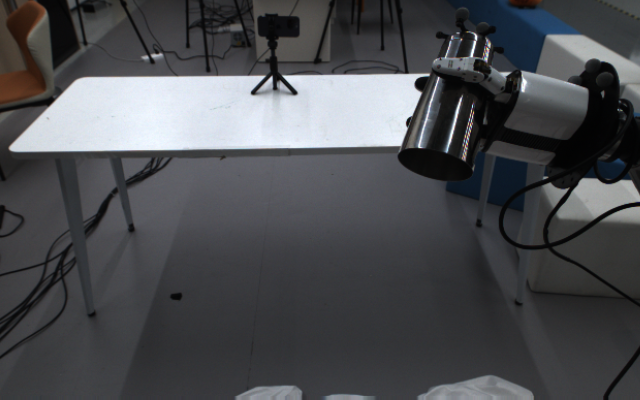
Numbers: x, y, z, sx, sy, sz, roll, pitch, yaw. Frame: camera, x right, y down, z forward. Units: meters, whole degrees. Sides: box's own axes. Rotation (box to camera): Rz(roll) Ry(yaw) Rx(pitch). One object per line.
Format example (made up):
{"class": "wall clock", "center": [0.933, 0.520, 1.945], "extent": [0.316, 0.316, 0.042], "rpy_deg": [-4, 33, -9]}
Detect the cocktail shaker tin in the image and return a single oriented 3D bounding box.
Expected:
{"class": "cocktail shaker tin", "center": [0.166, -0.120, 0.605], "extent": [0.093, 0.093, 0.170], "rpy_deg": [15, 75, 18]}
